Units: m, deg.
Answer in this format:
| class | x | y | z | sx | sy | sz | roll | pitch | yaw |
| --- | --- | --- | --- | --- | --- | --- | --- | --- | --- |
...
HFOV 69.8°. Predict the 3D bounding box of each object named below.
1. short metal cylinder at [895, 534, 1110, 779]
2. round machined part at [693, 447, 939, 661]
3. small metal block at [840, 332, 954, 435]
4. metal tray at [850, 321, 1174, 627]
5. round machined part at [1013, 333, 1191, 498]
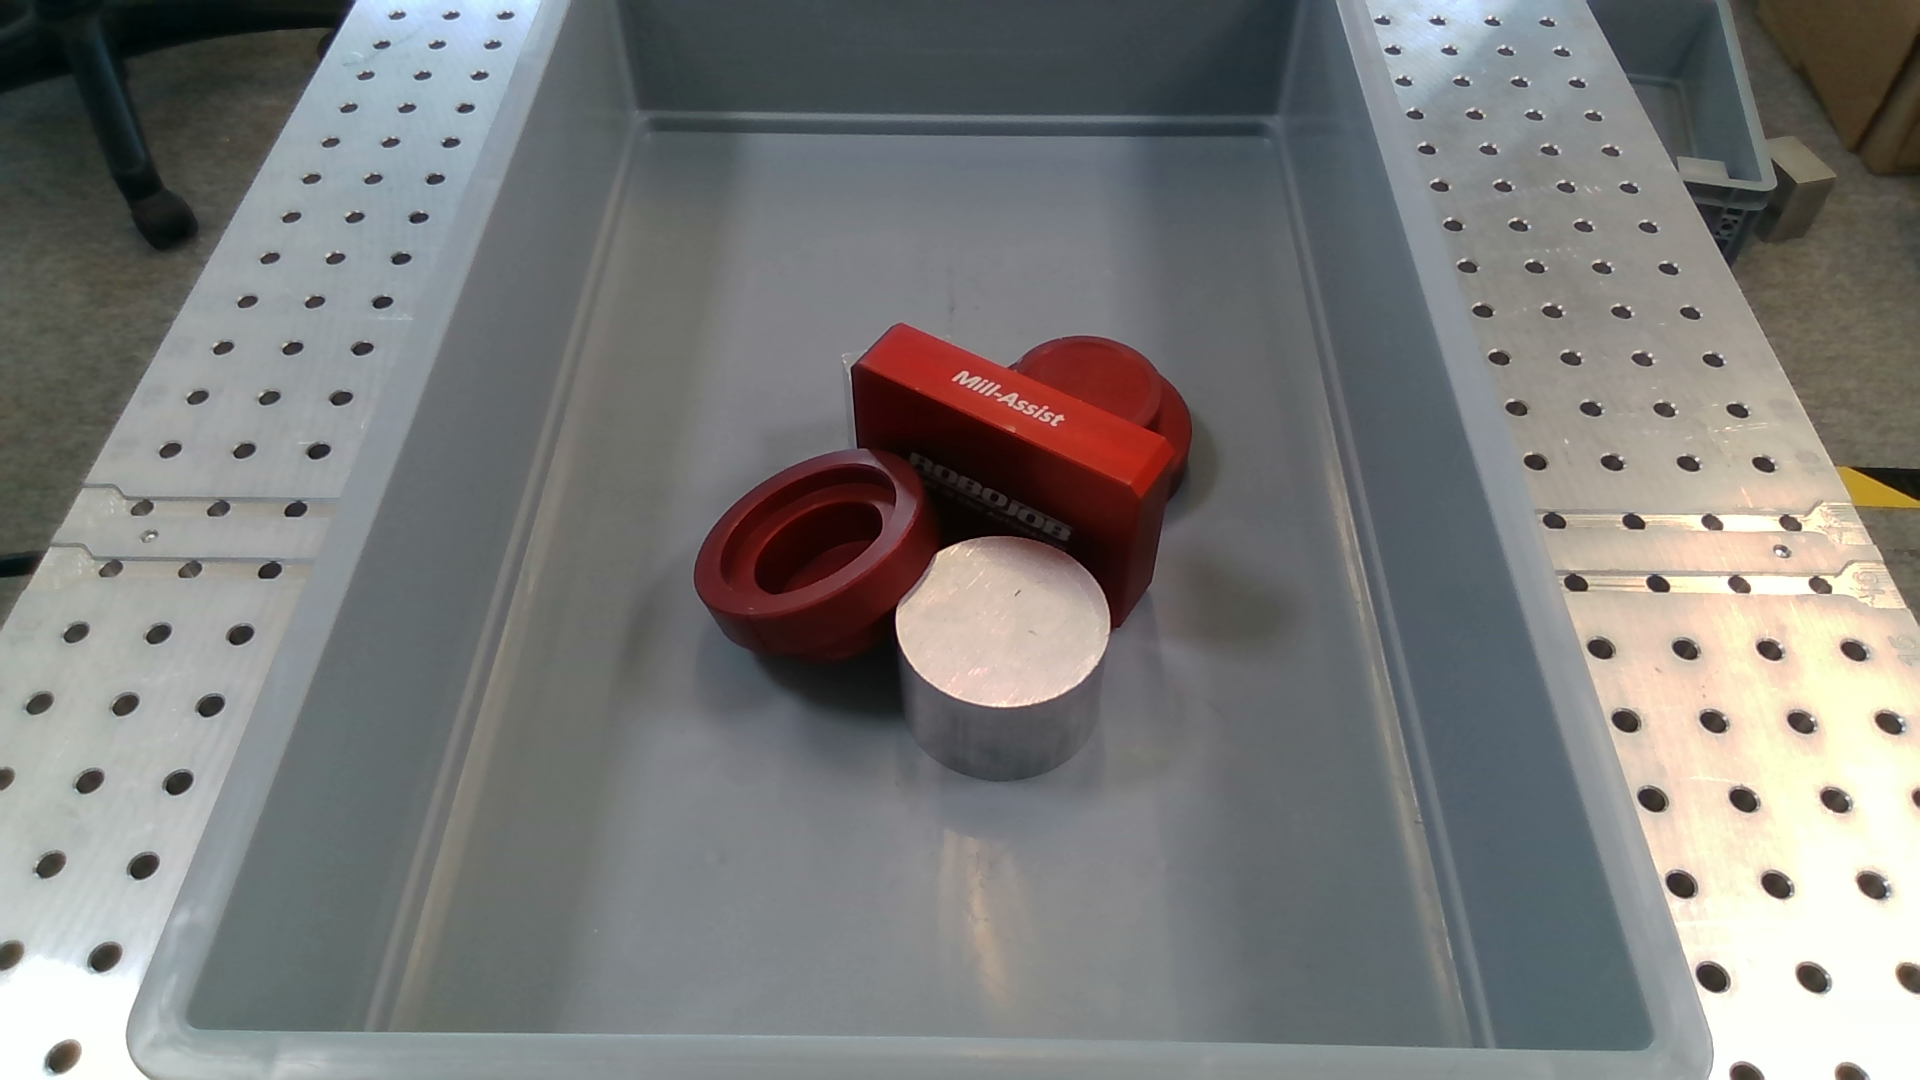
| class | x | y | z | sx | sy | sz | roll | pitch | yaw |
| --- | --- | --- | --- | --- | --- | --- | --- | --- | --- |
| short metal cylinder | 0.016 | 0.044 | 0.532 | 0.080 | 0.050 | 0.080 | 0 | 50 | 0 |
| round machined part | -0.053 | 0.010 | 0.551 | 0.098 | 0.042 | 0.098 | -17 | 37 | 13 |
| small metal block | -0.025 | -0.062 | 0.620 | 0.050 | 0.050 | 0.025 | -12 | 51 | -10 |
| metal tray | 0.019 | -0.026 | 0.565 | 0.130 | 0.090 | 0.030 | 26 | 55 | 20 |
| round machined part | 0.055 | -0.055 | 0.619 | 0.098 | 0.042 | 0.098 | 0 | 50 | 0 |
